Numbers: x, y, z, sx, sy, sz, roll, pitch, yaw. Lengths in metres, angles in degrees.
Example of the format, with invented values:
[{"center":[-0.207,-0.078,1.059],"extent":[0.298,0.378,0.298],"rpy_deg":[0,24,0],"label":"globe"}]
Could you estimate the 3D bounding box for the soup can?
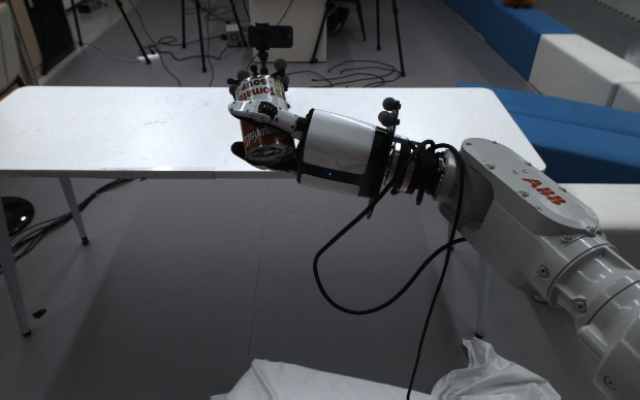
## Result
[{"center":[-0.073,-0.105,0.644],"extent":[0.067,0.067,0.101],"rpy_deg":[-8,74,-14],"label":"soup can"}]
